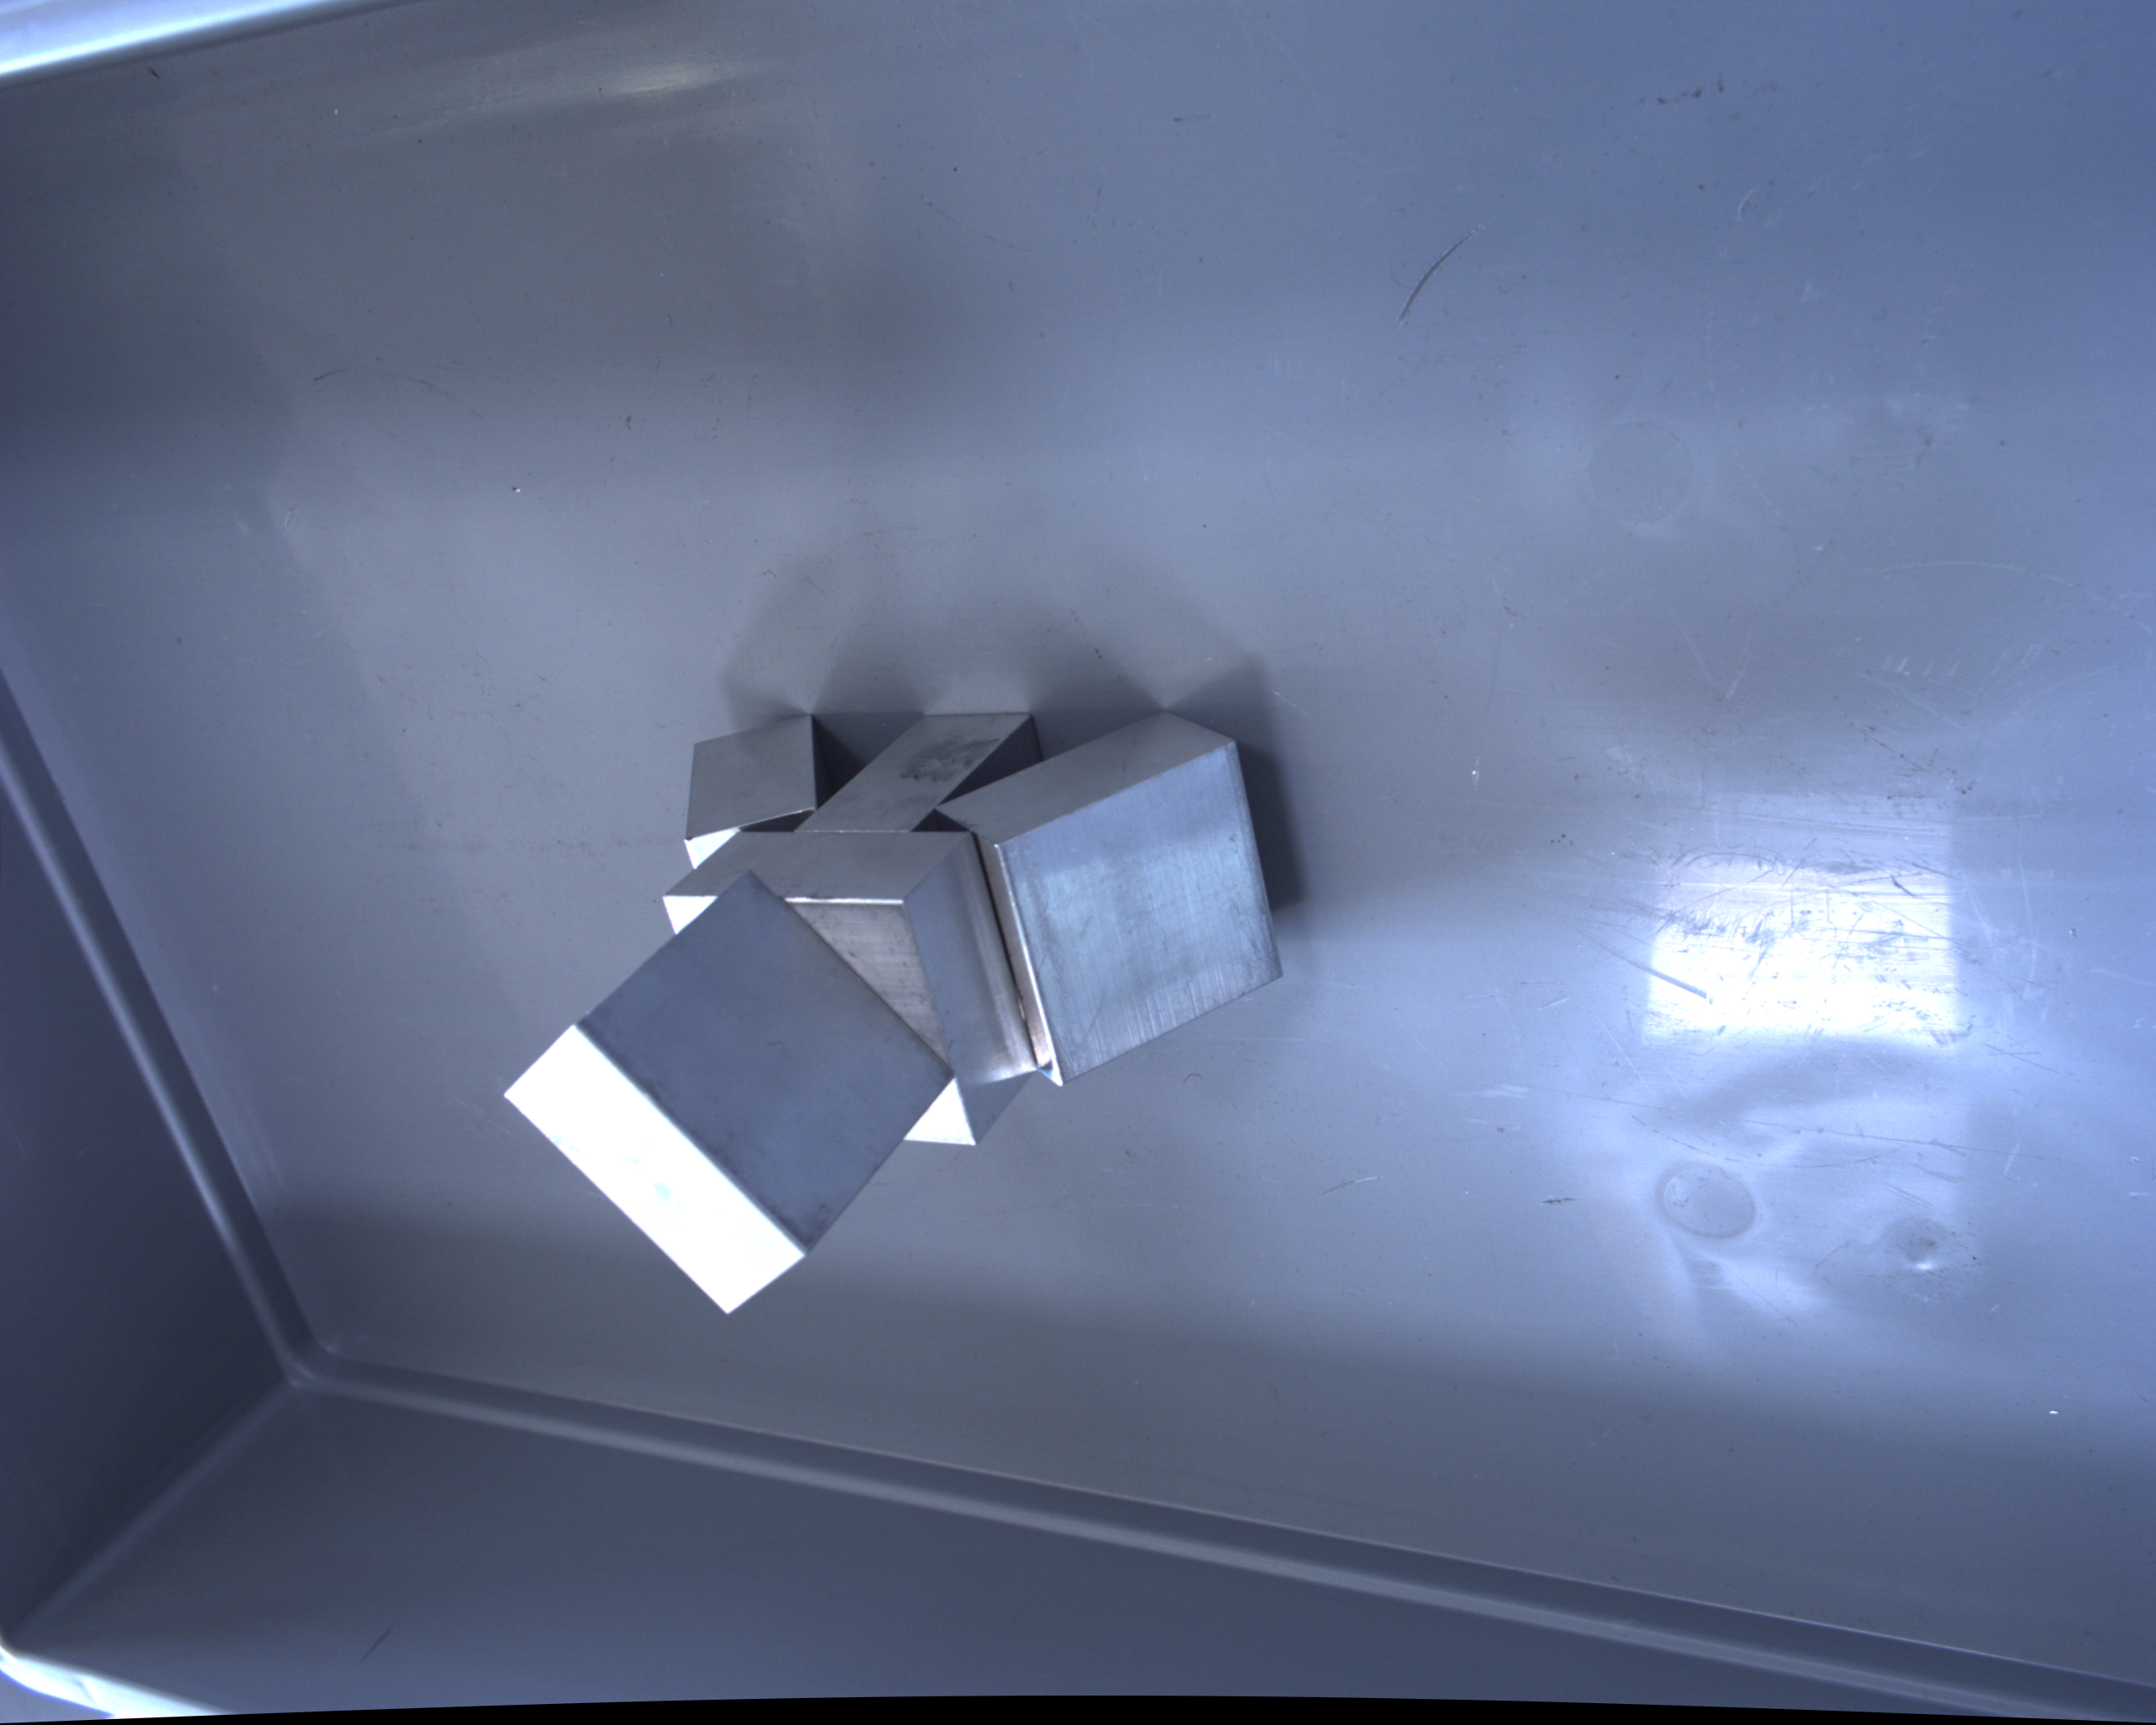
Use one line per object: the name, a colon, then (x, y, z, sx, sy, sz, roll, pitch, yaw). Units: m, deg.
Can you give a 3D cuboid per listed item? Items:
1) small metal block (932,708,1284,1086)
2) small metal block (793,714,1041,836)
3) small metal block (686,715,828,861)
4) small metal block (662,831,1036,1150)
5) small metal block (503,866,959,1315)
small metal block: (0.006, 0.006, 0.388, 0.025, 0.050, 0.050, 29, 138, 55)
small metal block: (-0.025, 0.004, 0.406, 0.025, 0.050, 0.050, 1, 119, 28)
small metal block: (-0.059, 0.004, 0.420, 0.025, 0.050, 0.050, -15, 115, -2)
small metal block: (-0.040, 0.022, 0.376, 0.050, 0.025, 0.050, 1, 119, 28)
small metal block: (-0.056, 0.037, 0.344, 0.050, 0.050, 0.025, 46, 129, -4)
